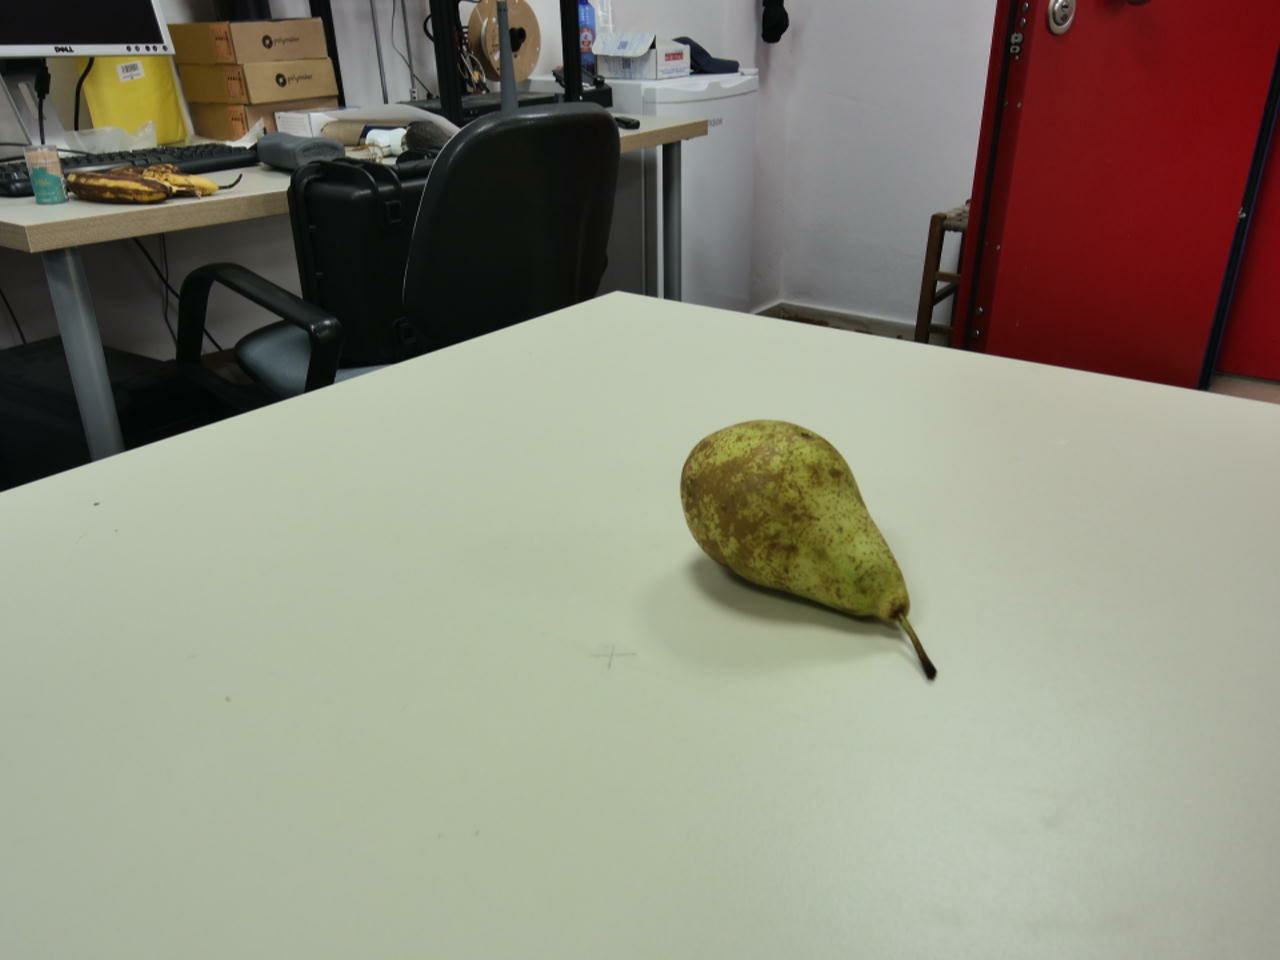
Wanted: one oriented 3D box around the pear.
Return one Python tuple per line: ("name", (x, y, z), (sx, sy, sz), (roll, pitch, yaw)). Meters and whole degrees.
("pear", (0.076, 0.016, 0.426), (0.128, 0.075, 0.071), (14, 26, 28))
